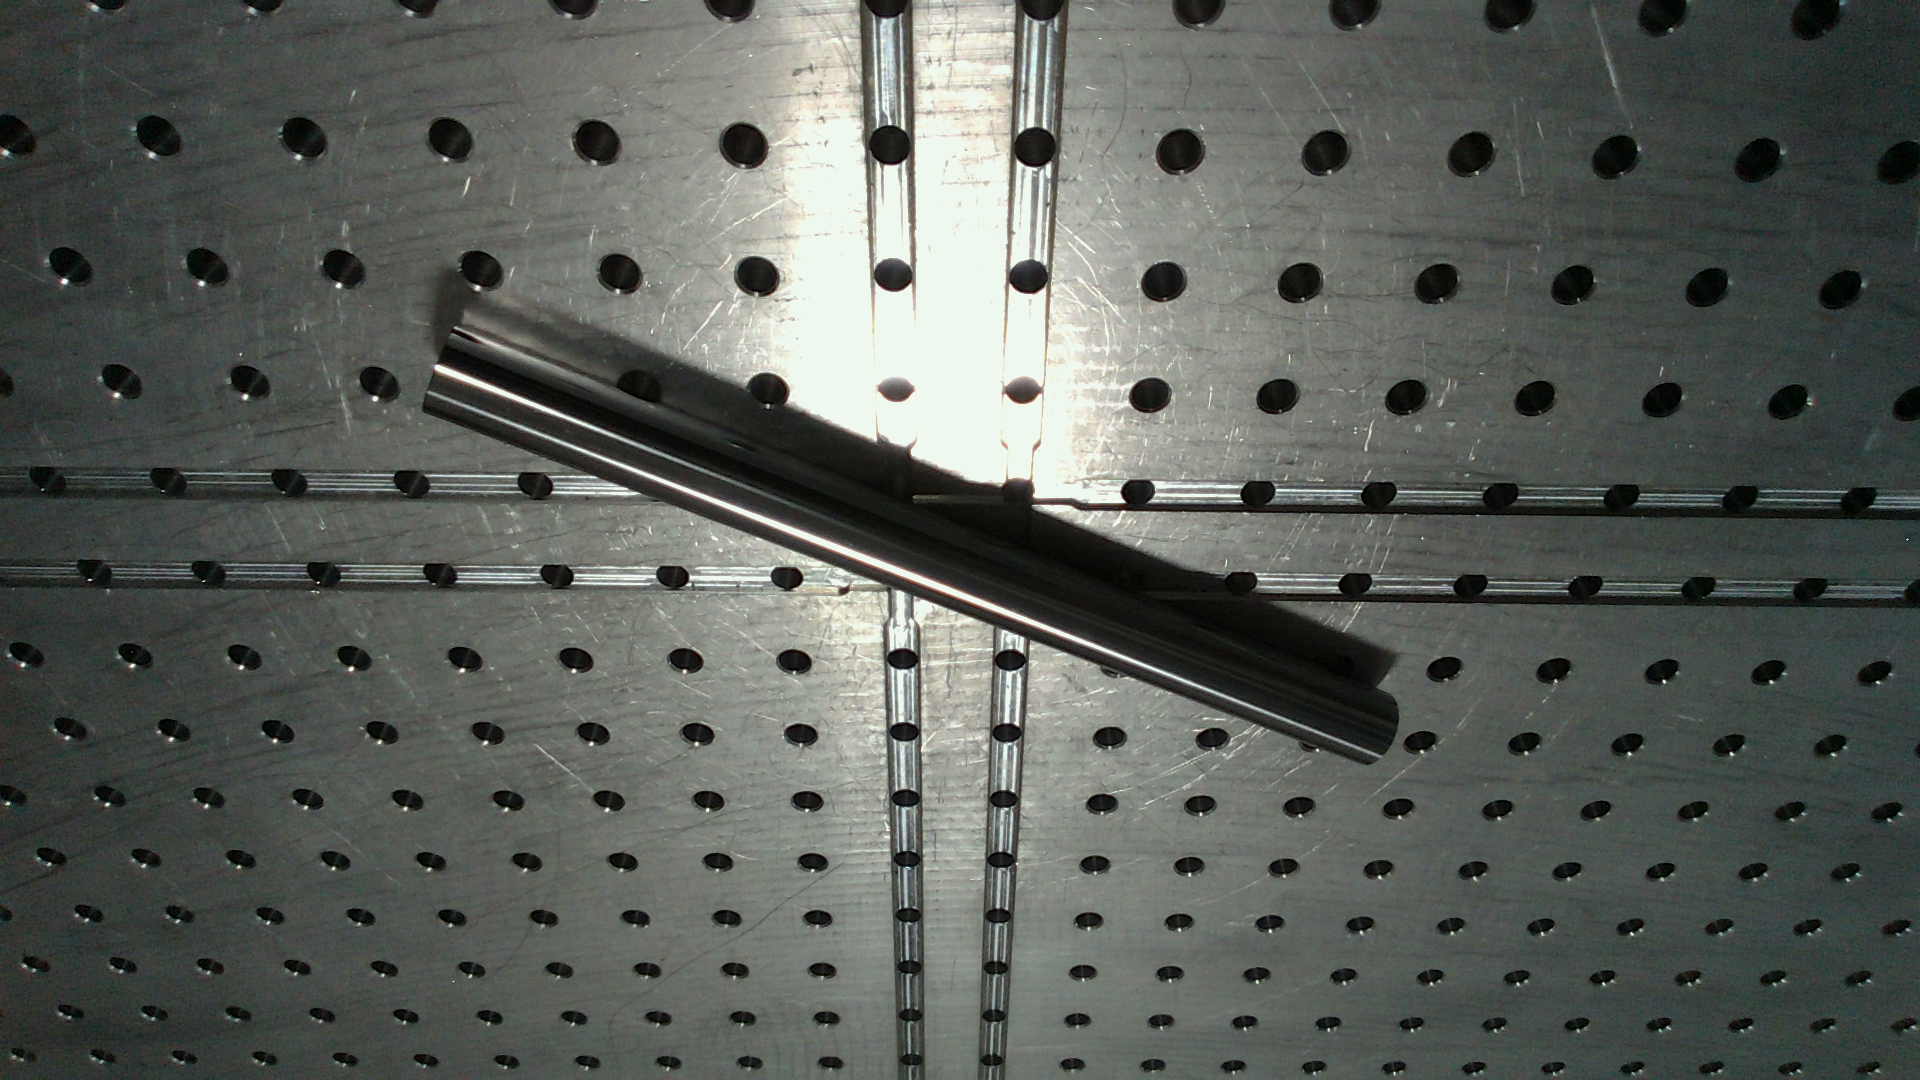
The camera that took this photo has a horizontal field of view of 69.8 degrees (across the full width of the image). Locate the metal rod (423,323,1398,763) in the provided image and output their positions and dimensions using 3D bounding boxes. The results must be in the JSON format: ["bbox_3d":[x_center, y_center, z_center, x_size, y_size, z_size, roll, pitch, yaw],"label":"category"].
[{"bbox_3d":[0.000,0.008,0.400,0.301,0.025,0.025,21,127,-17],"label":"metal rod"}]
